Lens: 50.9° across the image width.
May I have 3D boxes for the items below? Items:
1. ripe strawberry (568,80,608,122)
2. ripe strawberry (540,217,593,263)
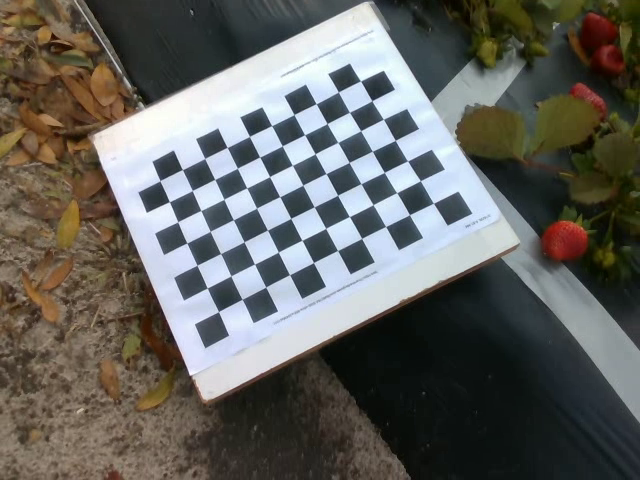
[{"bbox_3d":[0.258,-0.137,0.653,0.043,0.062,0.043,-14,-30,9],"label":"ripe strawberry"},{"bbox_3d":[0.199,0.008,0.545,0.039,0.047,0.041,20,-25,25],"label":"ripe strawberry"}]
